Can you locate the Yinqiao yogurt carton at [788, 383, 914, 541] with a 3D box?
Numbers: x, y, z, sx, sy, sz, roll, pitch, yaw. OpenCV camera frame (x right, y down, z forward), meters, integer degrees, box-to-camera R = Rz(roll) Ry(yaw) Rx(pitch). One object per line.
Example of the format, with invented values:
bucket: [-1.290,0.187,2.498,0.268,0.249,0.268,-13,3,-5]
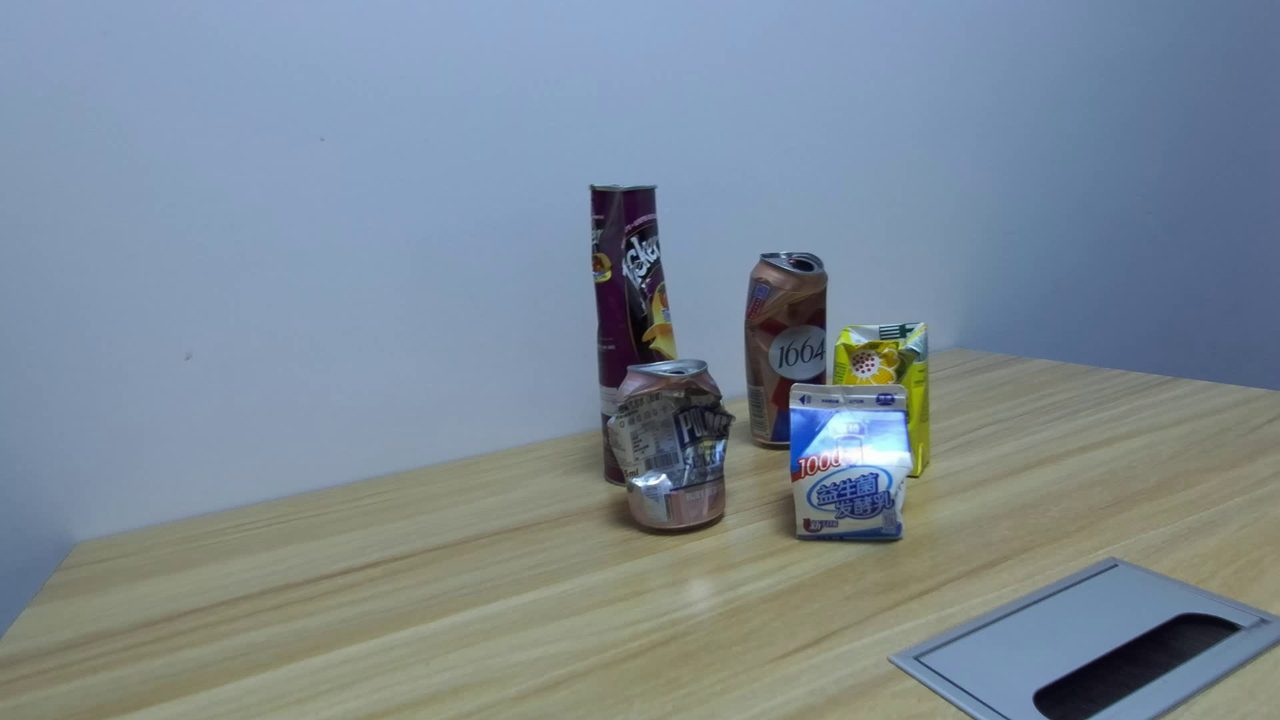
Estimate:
Yinqiao yogurt carton: [0.132,0.059,0.444,0.074,0.097,0.080,-3,19,11]

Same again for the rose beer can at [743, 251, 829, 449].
rose beer can: [0.128,-0.008,0.612,0.070,0.168,0.069,0,16,13]

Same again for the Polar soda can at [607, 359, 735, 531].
Polar soda can: [0.024,0.056,0.477,0.070,0.114,0.074,5,17,22]

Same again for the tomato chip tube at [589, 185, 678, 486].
tomato chip tube: [-0.003,-0.019,0.563,0.090,0.235,0.077,-8,11,-24]

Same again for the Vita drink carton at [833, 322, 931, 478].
Vita drink carton: [0.184,0.029,0.541,0.071,0.109,0.047,1,10,33]
